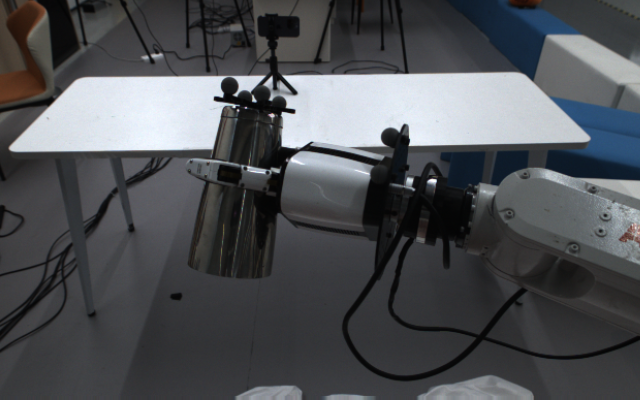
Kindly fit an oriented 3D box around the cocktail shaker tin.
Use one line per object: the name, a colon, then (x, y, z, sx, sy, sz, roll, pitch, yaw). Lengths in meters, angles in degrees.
cocktail shaker tin: (-0.083, -0.009, 0.523, 0.093, 0.170, 0.093, 9, 3, 0)
